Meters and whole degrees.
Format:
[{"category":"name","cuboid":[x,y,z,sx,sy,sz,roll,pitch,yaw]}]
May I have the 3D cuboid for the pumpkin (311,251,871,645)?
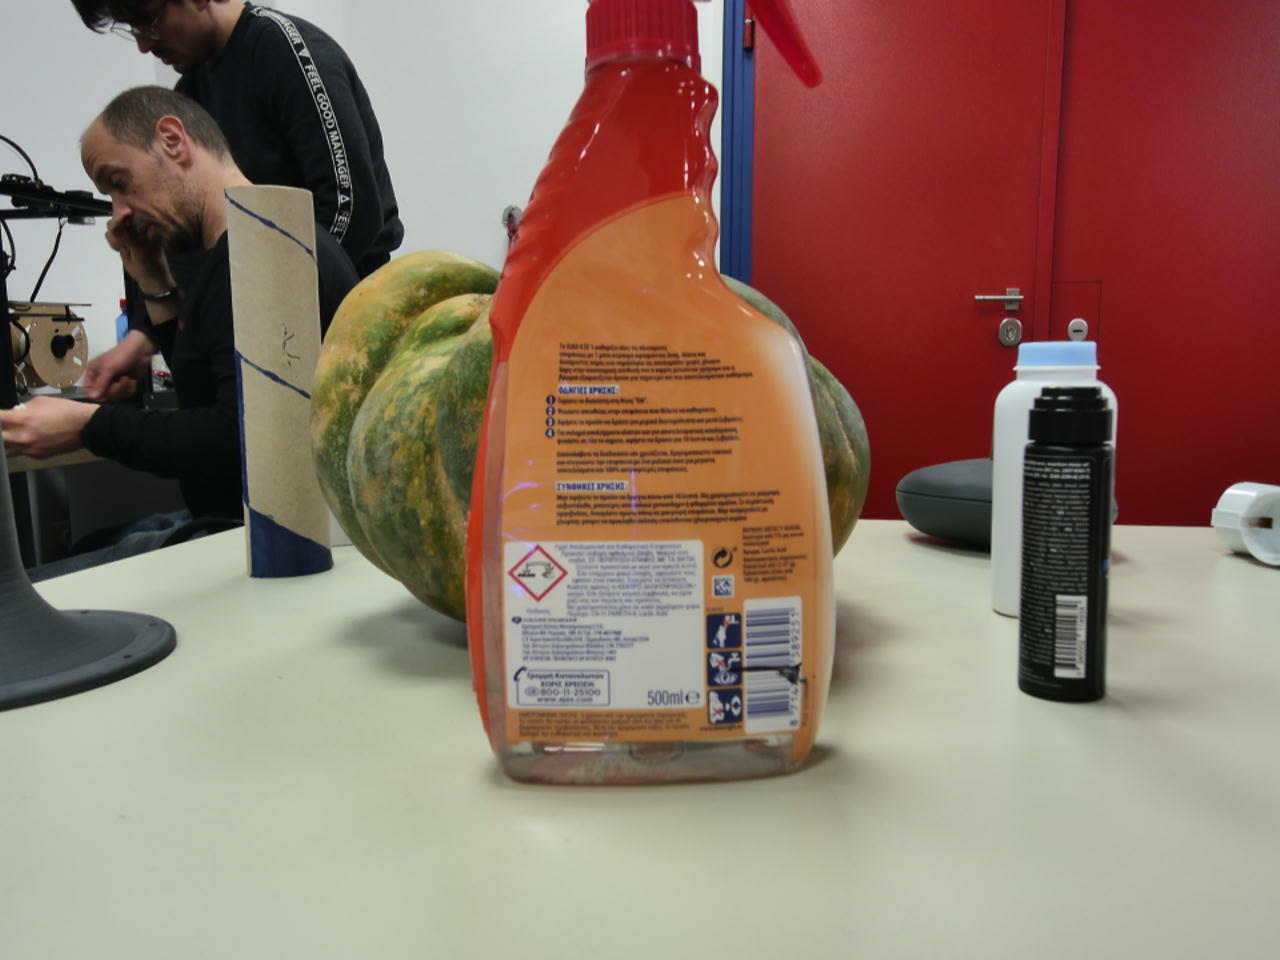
[{"category":"pumpkin","cuboid":[-0.024,-0.019,0.475,0.237,0.173,0.270,-4,6,-41]}]
